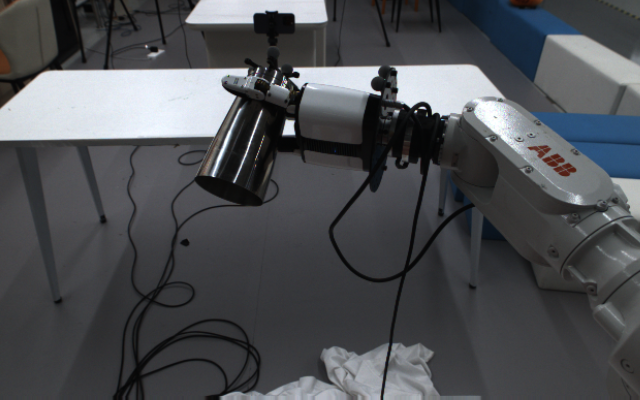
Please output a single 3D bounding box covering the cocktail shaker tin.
[{"bbox_3d":[-0.092,-0.090,0.643,0.093,0.093,0.170,13,71,16],"label":"cocktail shaker tin"}]
